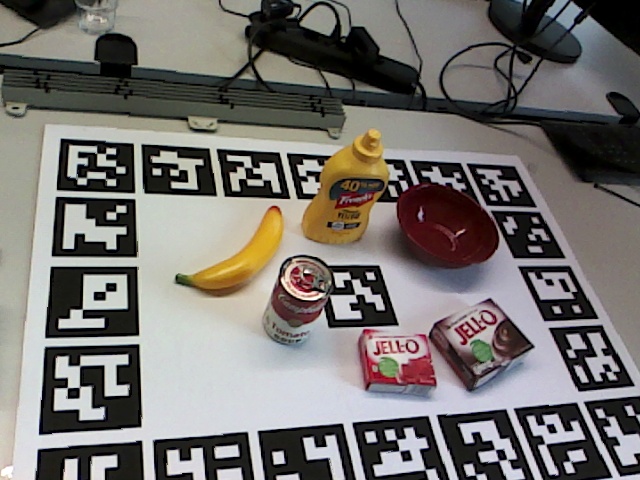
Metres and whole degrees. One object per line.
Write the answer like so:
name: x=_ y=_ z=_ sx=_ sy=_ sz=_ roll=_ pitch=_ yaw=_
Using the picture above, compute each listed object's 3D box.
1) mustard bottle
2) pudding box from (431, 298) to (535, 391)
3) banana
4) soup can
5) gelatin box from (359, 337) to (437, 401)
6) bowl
mustard bottle: x=0.050 y=-0.077 z=0.855 sx=0.096 sy=0.191 sz=0.059 roll=1 pitch=47 yaw=-19
pudding box: x=0.222 y=0.140 z=0.844 sx=0.113 sy=0.038 sz=0.090 roll=-21 pitch=65 yaw=-33
banana: x=-0.103 y=0.008 z=0.846 sx=0.074 sy=0.039 sz=0.197 roll=25 pitch=45 yaw=17
soup can: x=-0.031 y=0.070 z=0.761 sx=0.068 sy=0.102 sz=0.068 roll=12 pitch=45 yaw=-12
gelatin box: x=0.098 y=0.163 z=0.786 sx=0.089 sy=0.030 sz=0.073 roll=6 pitch=52 yaw=-14
bowl: x=0.192 y=-0.008 z=0.958 sx=0.161 sy=0.055 sz=0.162 roll=9 pitch=47 yaw=-10
